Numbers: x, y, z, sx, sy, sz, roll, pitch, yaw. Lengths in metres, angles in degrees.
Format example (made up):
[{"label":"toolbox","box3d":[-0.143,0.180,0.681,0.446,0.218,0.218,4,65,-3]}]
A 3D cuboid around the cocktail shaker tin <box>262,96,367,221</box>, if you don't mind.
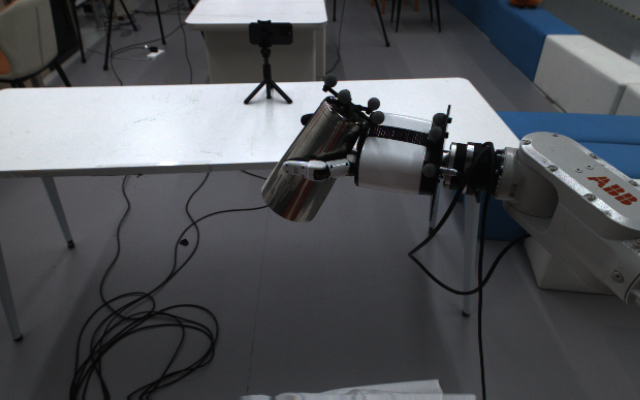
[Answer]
[{"label":"cocktail shaker tin","box3d":[-0.006,-0.064,0.692,0.093,0.170,0.093,26,32,-17]}]
